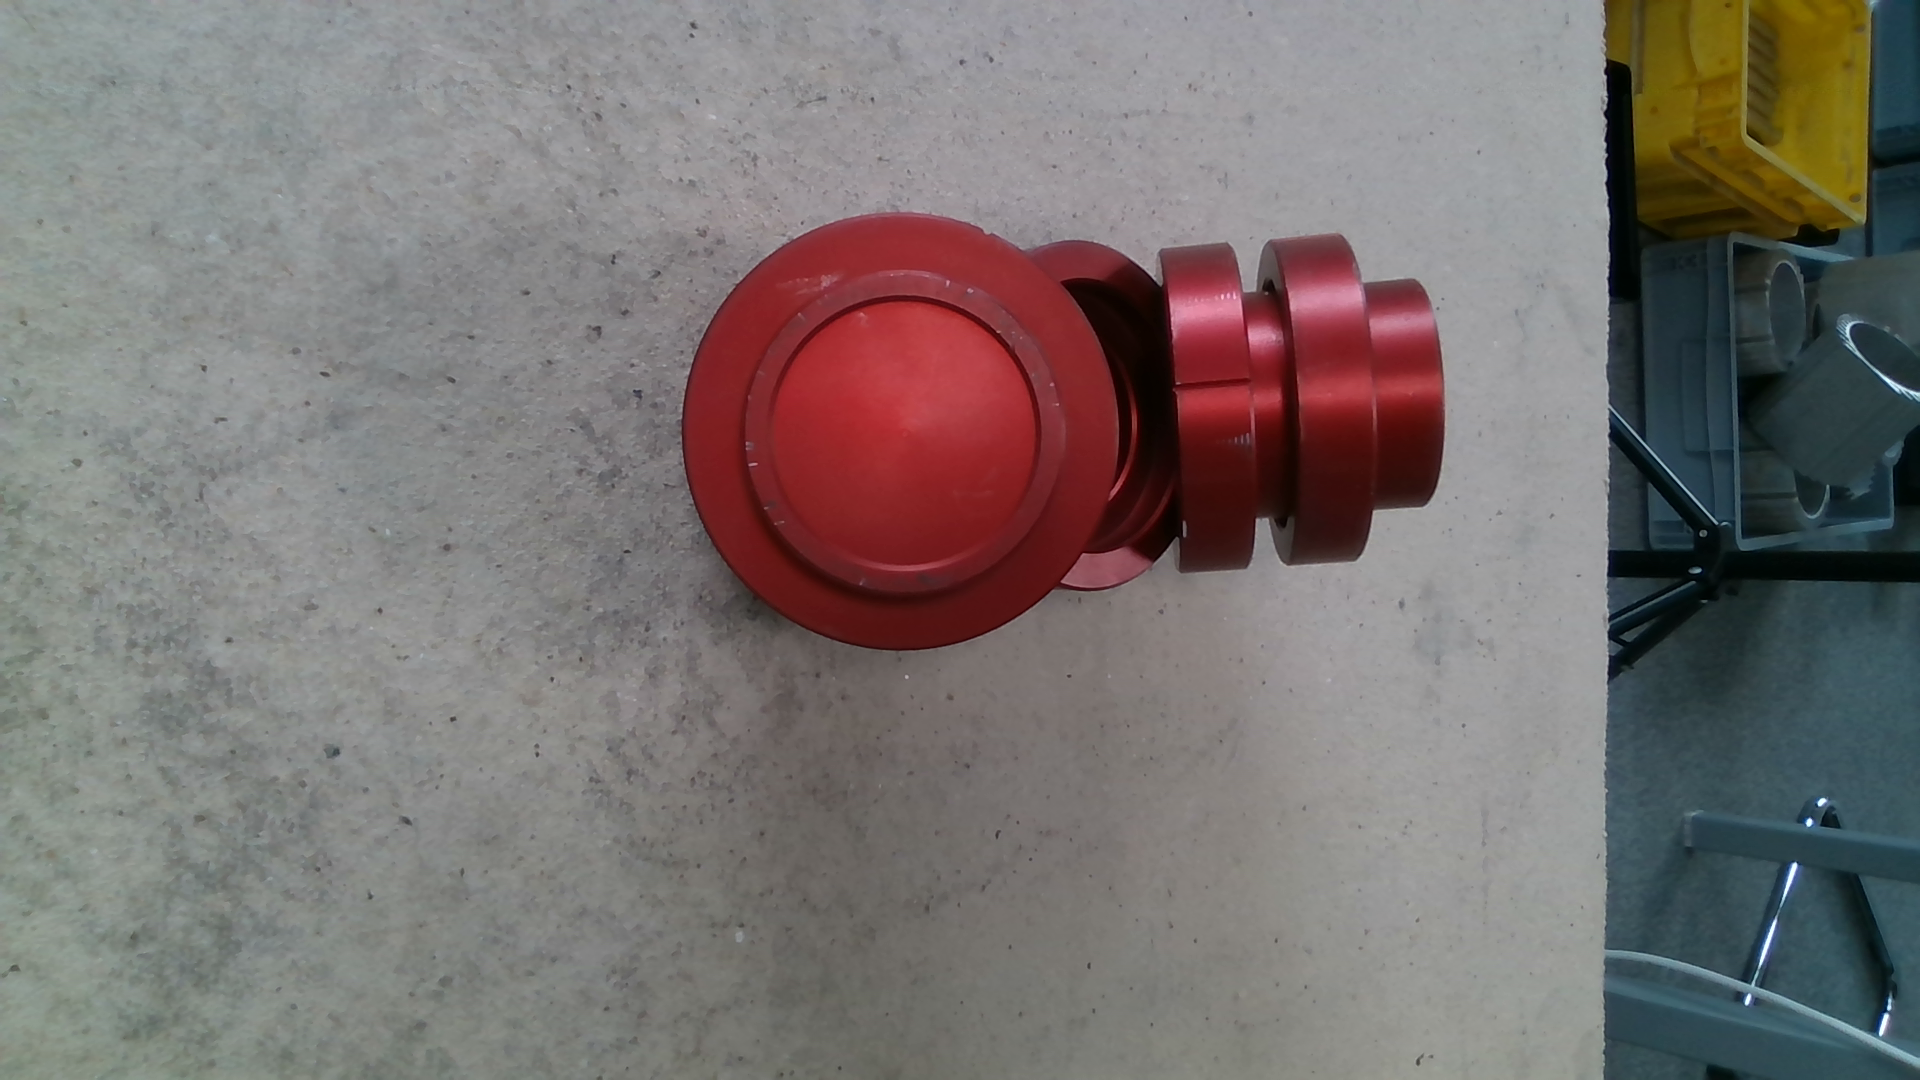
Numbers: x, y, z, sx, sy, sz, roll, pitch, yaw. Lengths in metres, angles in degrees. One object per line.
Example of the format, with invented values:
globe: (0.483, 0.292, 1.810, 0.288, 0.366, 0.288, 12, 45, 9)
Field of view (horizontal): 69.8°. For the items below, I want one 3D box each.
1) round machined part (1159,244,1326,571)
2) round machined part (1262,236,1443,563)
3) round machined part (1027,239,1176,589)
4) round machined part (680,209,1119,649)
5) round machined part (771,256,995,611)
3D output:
round machined part: (0.084, -0.041, 0.415, 0.098, 0.042, 0.098, -2, 88, -83)
round machined part: (0.116, -0.043, 0.415, 0.098, 0.042, 0.098, -3, 88, -83)
round machined part: (0.024, -0.035, 0.401, 0.098, 0.042, 0.098, 0, 90, -40)
round machined part: (-0.013, -0.024, 0.307, 0.098, 0.042, 0.098, 0, 94, -5)
round machined part: (-0.011, -0.027, 0.339, 0.098, 0.042, 0.098, 0, 94, -4)
